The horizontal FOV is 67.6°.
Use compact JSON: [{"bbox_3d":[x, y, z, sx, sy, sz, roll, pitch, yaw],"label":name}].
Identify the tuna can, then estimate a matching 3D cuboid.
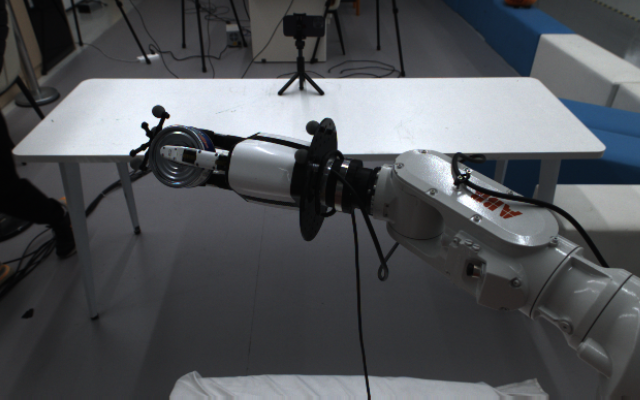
[{"bbox_3d":[-0.187,-0.058,0.659,0.085,0.085,0.034,10,6,11],"label":"tuna can"}]
